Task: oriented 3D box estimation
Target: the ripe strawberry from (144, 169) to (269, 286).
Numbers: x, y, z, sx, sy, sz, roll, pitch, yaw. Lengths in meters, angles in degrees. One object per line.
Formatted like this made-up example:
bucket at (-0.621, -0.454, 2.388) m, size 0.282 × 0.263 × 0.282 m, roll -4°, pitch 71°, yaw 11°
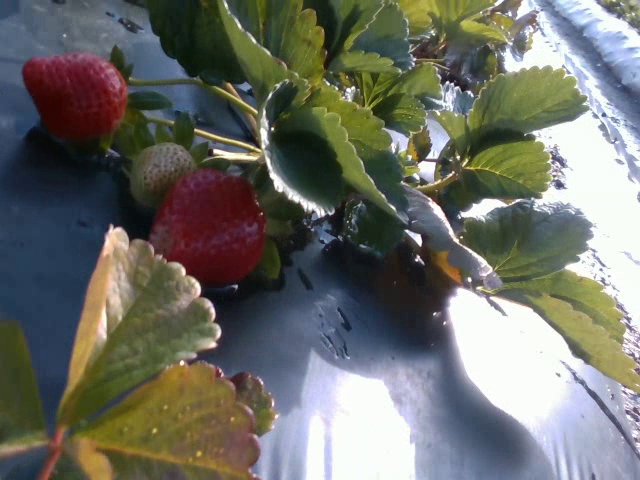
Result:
ripe strawberry at (-0.048, -0.006, 0.234) m, size 0.049 × 0.050 × 0.065 m, roll -1°, pitch 26°, yaw 31°
